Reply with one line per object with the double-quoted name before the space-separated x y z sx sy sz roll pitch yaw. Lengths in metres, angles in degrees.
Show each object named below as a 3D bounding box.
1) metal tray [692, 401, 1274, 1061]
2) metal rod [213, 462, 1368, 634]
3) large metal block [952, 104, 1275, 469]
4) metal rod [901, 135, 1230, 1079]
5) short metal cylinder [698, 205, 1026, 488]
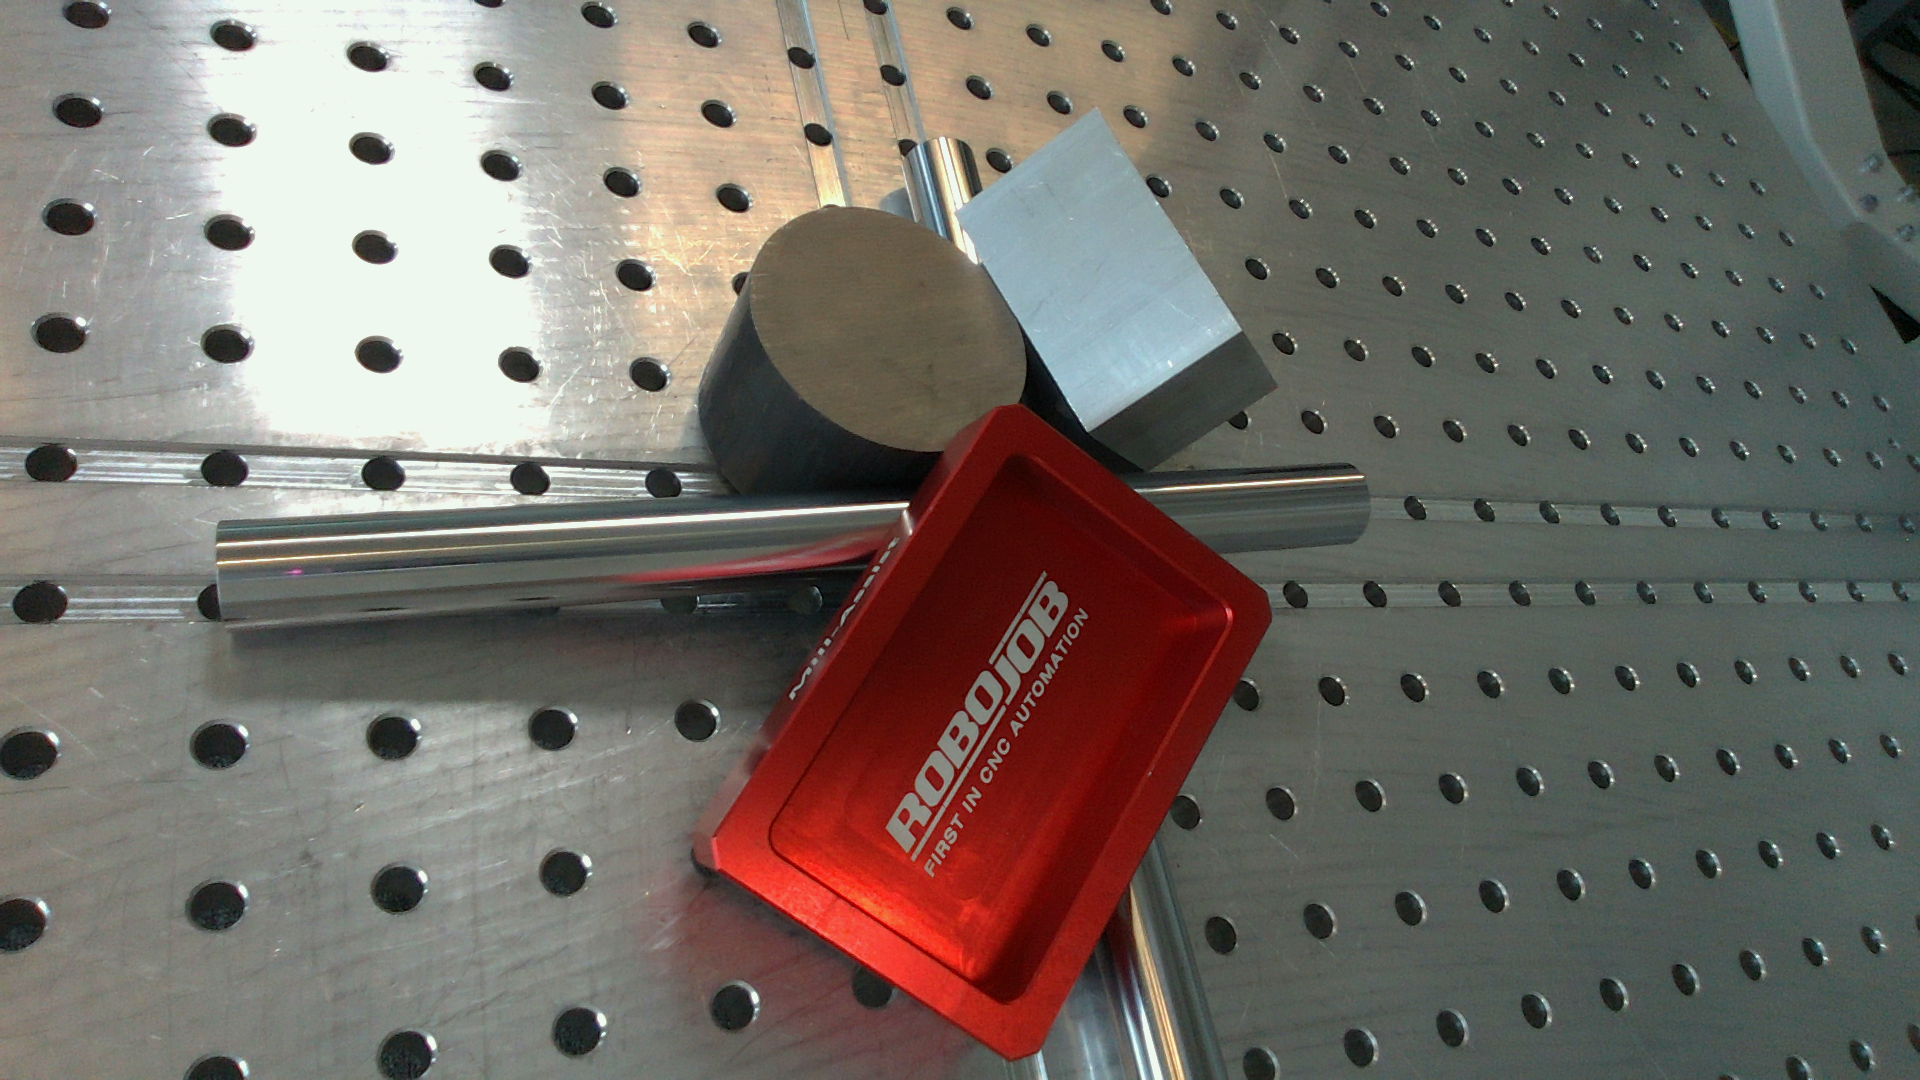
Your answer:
"metal tray" 0.008 0.044 0.334 0.090 0.030 0.130 36 71 -11
"metal rod" -0.024 -0.001 0.359 0.301 0.025 0.025 -4 63 -22
"large metal block" 0.050 -0.073 0.423 0.080 0.050 0.080 60 14 15
"metal rod" 0.023 0.004 0.403 0.025 0.025 0.300 1 61 -28
"short metal cylinder" -0.028 -0.047 0.389 0.080 0.050 0.080 14 56 -21
